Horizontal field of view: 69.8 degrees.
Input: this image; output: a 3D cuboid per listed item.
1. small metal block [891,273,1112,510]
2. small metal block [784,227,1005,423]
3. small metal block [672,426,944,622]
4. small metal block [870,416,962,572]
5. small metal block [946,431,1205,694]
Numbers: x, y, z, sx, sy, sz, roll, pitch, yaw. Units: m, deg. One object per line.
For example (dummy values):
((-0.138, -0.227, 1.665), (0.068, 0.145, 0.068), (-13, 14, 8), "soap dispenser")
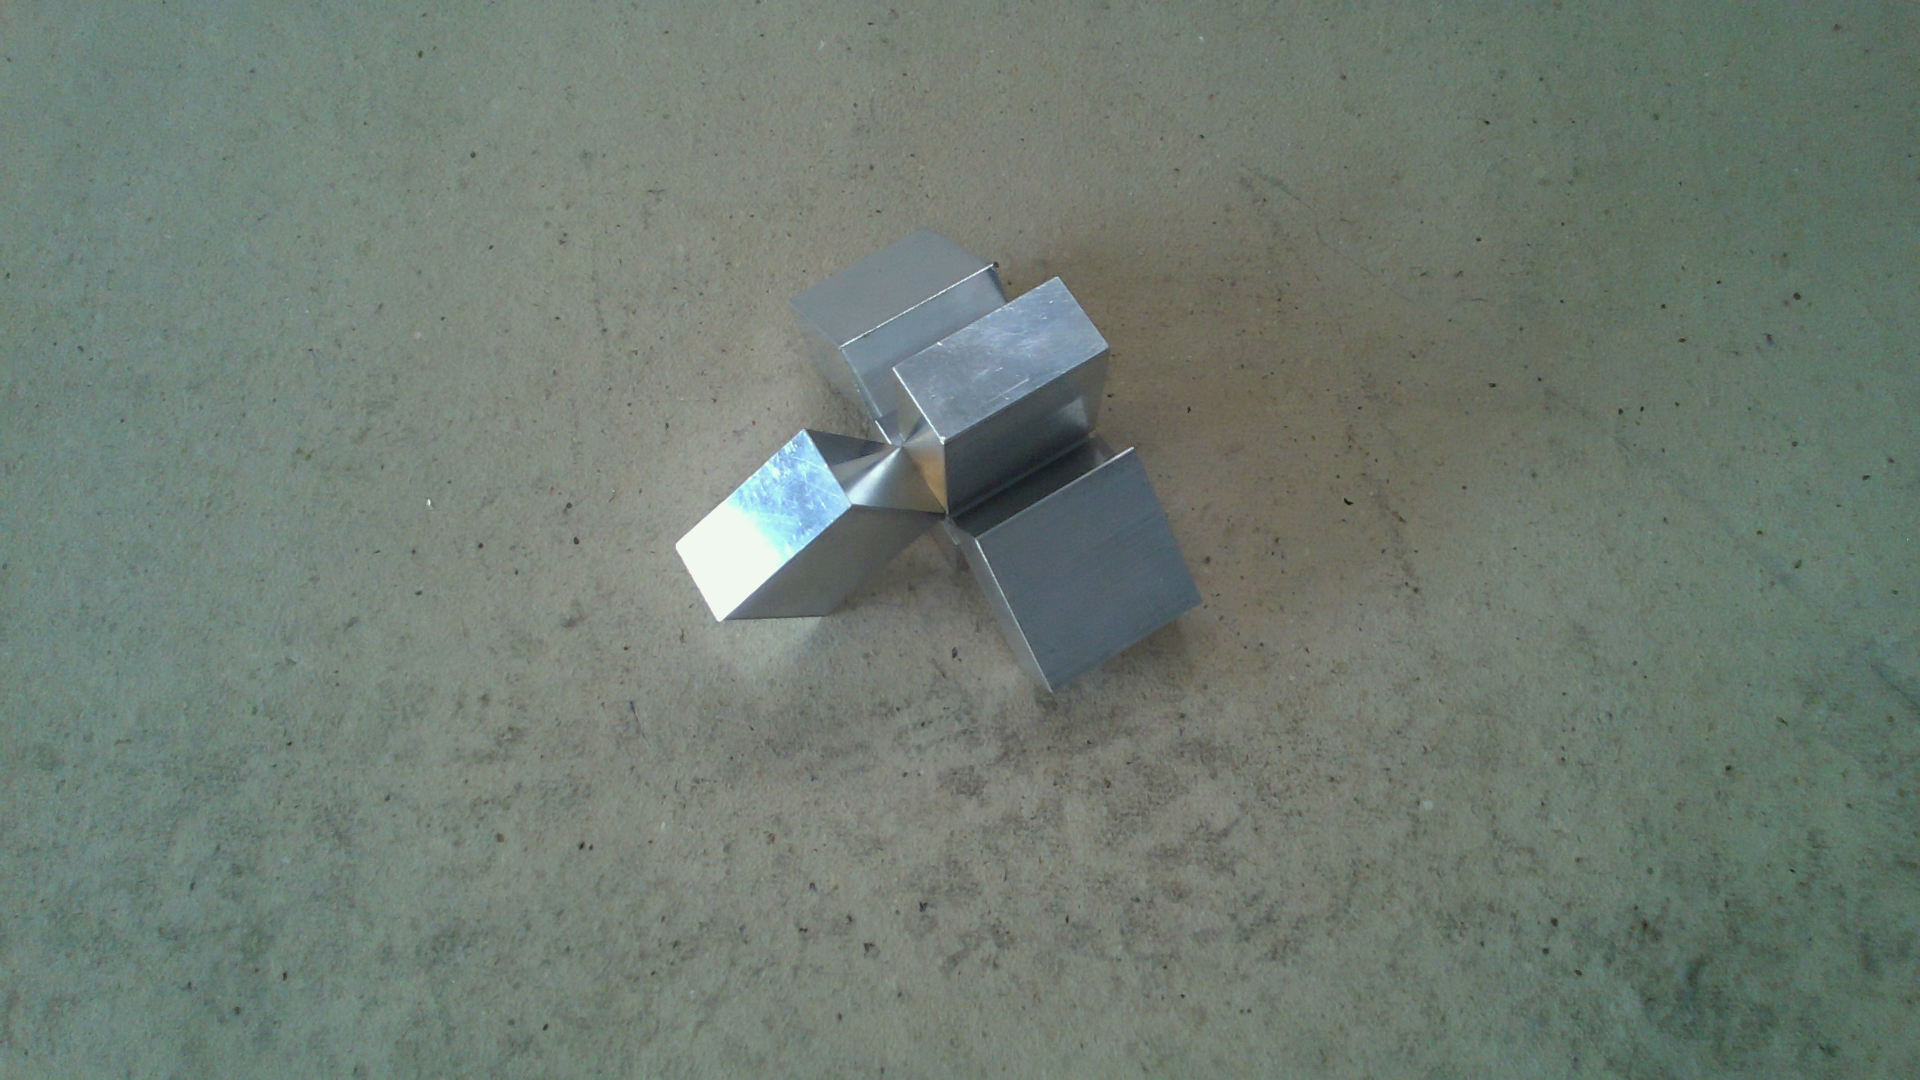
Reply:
((0.011, -0.038, 0.369), (0.050, 0.050, 0.025), (-30, 73, -10), "small metal block")
((-0.018, -0.065, 0.405), (0.050, 0.025, 0.050), (-30, 33, -10), "small metal block")
((-0.040, -0.003, 0.373), (0.050, 0.050, 0.025), (-39, 72, 21), "small metal block")
((0.007, -0.027, 0.405), (0.050, 0.025, 0.050), (-31, 72, -8), "small metal block")
((0.032, 0.005, 0.380), (0.050, 0.025, 0.050), (-31, 109, -10), "small metal block")
